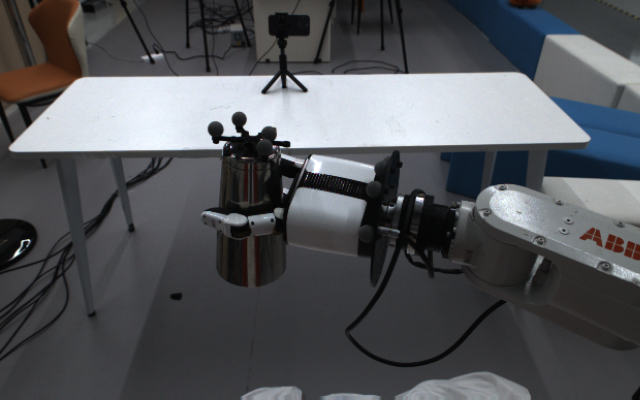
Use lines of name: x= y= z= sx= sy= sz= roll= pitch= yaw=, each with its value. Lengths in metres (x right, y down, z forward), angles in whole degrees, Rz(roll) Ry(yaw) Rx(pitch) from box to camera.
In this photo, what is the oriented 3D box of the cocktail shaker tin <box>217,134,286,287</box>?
cocktail shaker tin: x=-0.083 y=0.012 z=0.594 sx=0.093 sy=0.170 sz=0.093 roll=3 pitch=32 yaw=-2
